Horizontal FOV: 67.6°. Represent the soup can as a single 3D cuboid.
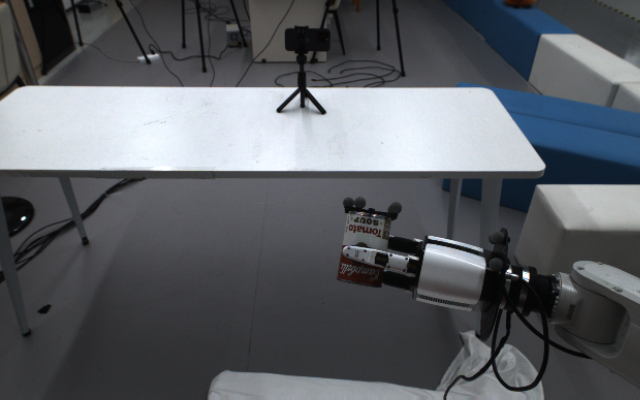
[{"bbox_3d":[0.067,0.071,0.712,0.067,0.101,0.067,9,-5,1],"label":"soup can"}]
